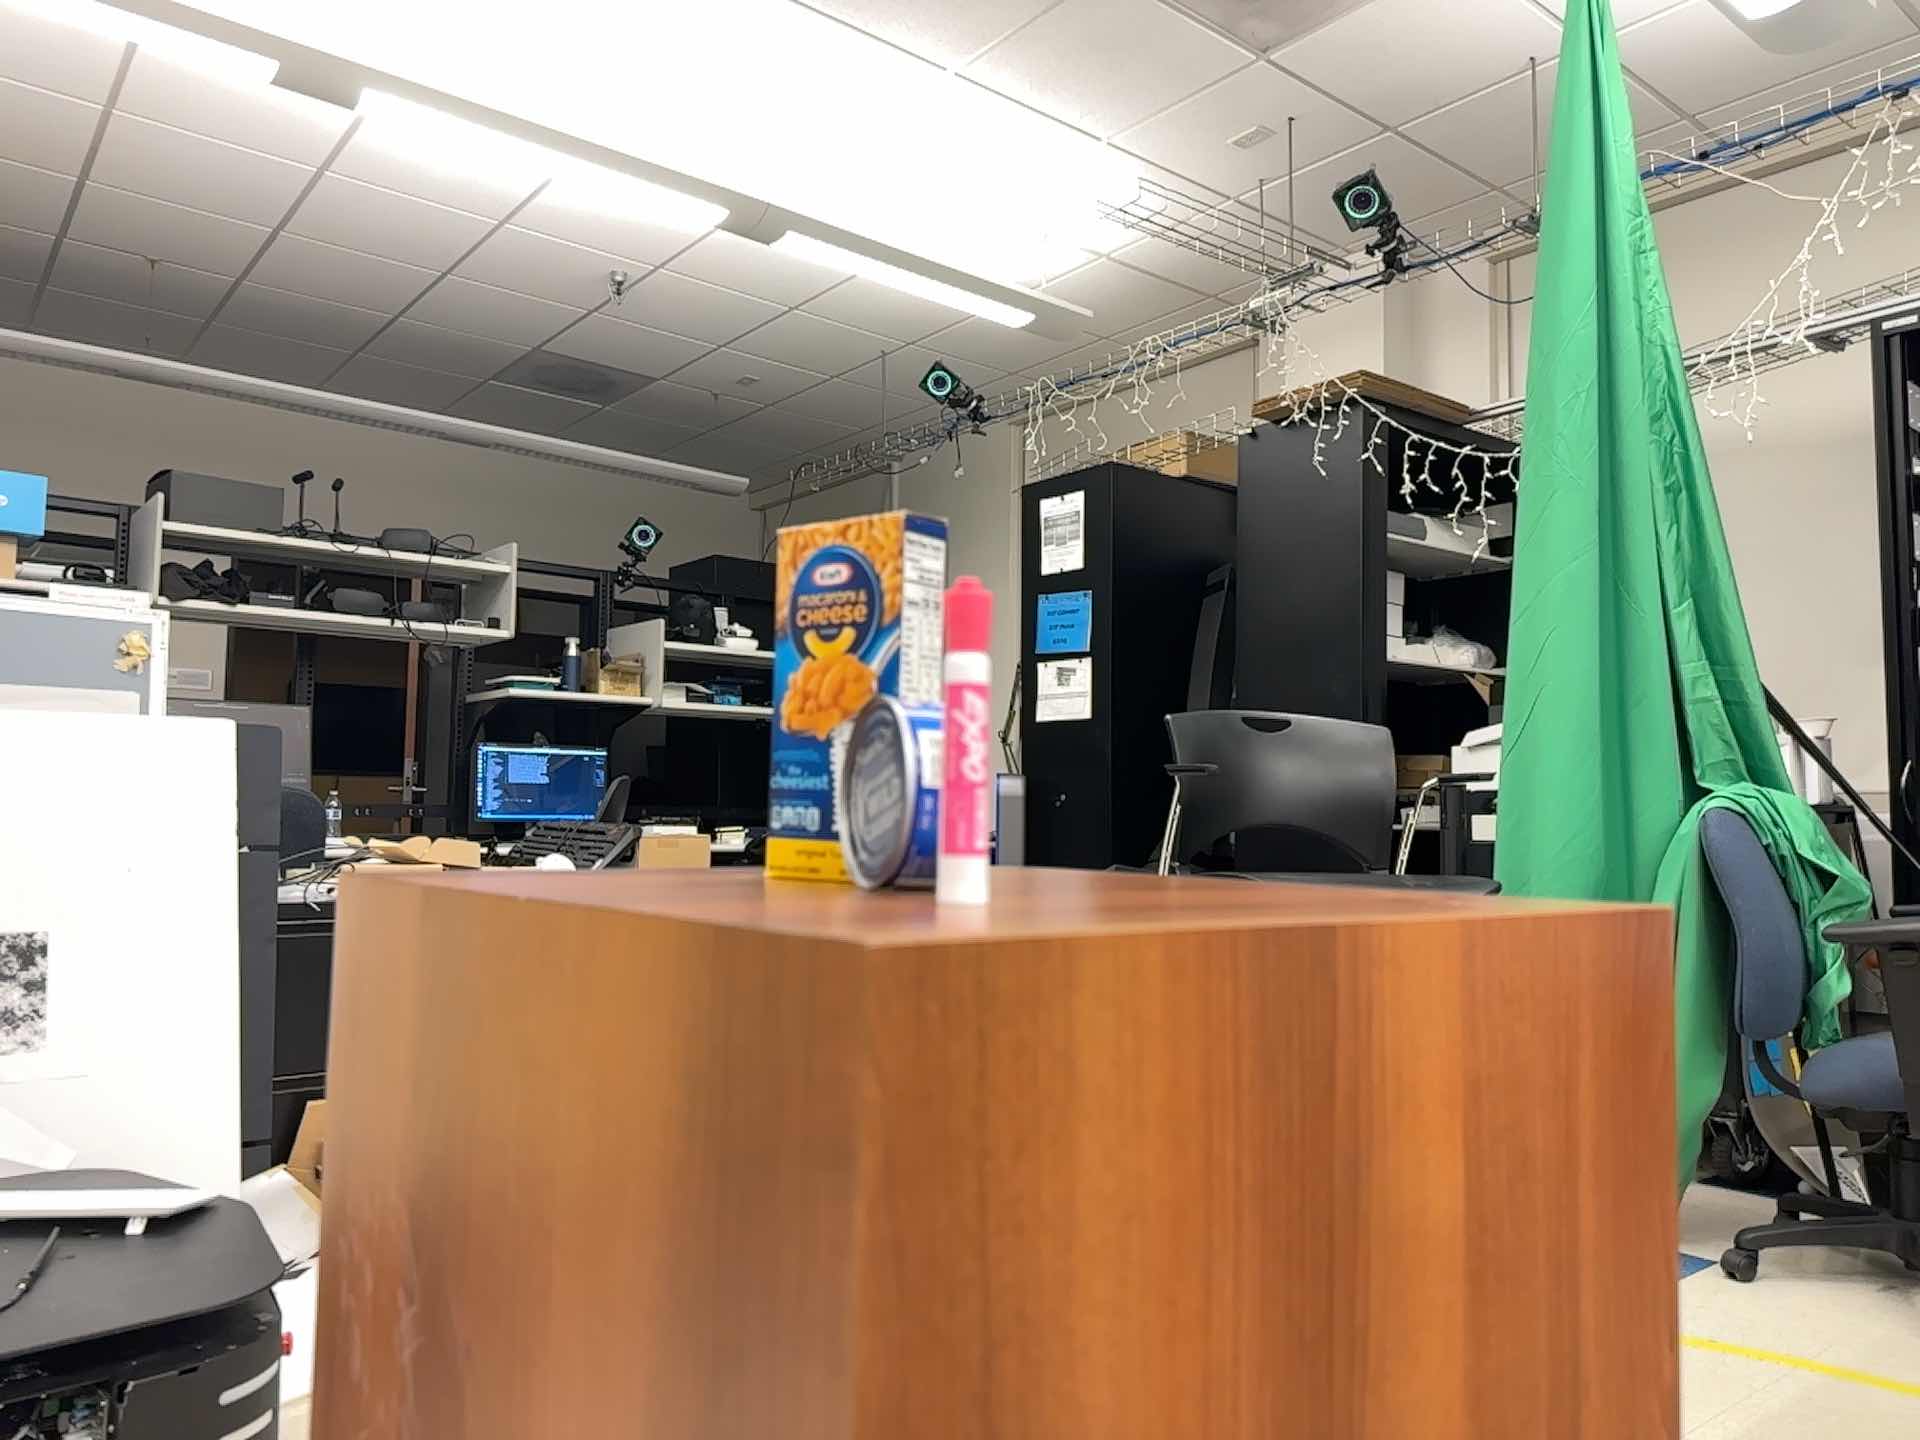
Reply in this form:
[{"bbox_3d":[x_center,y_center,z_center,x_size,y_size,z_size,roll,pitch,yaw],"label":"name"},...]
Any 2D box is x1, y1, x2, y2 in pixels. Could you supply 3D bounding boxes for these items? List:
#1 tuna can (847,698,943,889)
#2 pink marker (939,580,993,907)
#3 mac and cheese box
[{"bbox_3d":[-0.023,0.033,0.601,0.034,0.083,0.083,3,-4,-21],"label":"tuna can"},{"bbox_3d":[0.002,0.008,0.501,0.020,0.121,0.020,1,-3,0],"label":"pink marker"},{"bbox_3d":[-0.058,-0.011,0.689,0.088,0.181,0.035,-2,-4,43],"label":"mac and cheese box"}]
